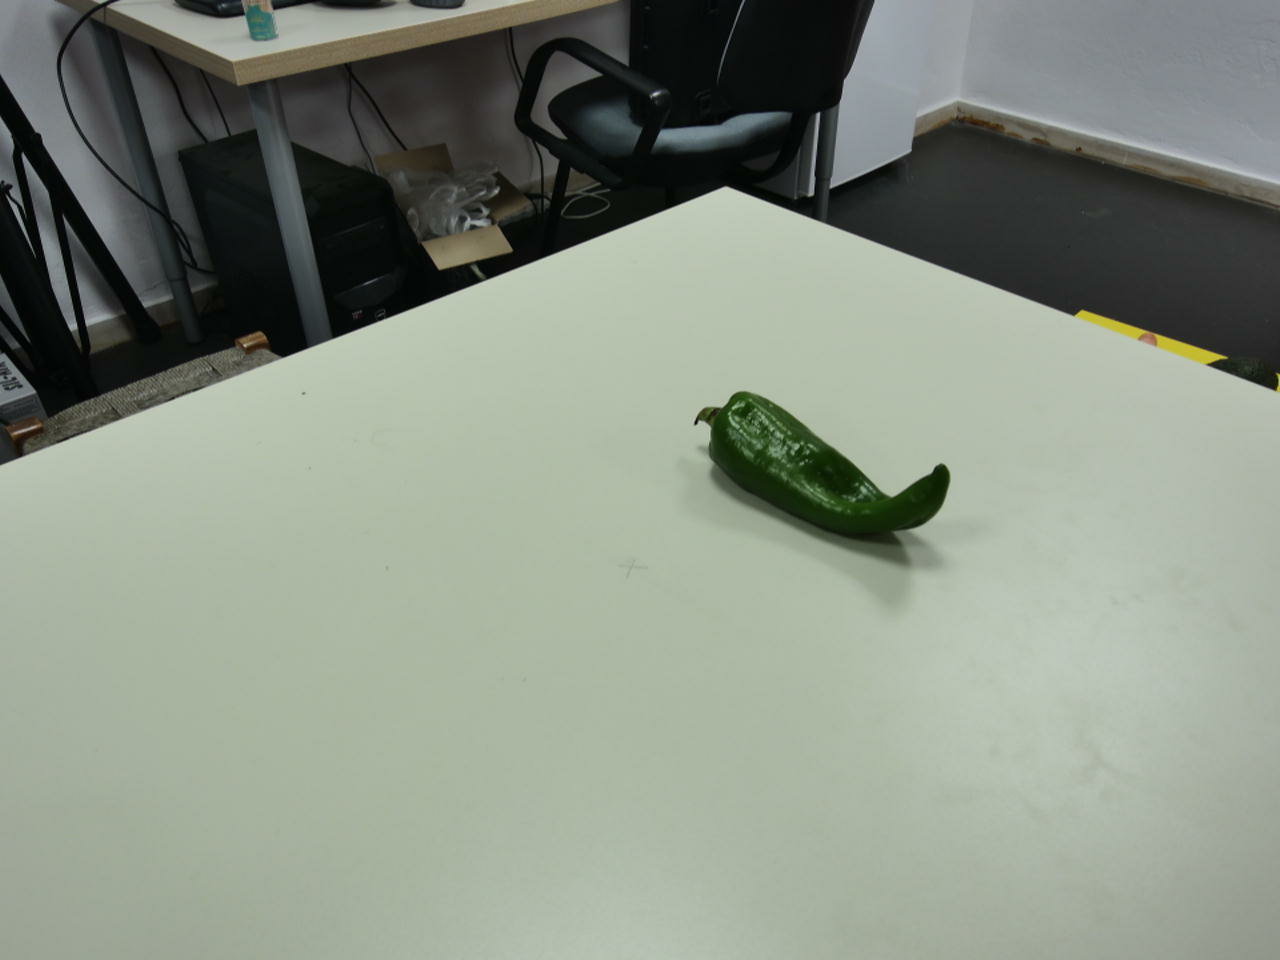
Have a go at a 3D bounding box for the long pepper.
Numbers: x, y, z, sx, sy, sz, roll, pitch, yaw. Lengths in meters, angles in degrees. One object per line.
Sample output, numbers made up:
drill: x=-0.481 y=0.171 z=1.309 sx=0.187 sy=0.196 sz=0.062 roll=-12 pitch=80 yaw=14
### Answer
long pepper: x=0.099 y=-0.013 z=0.597 sx=0.058 sy=0.065 sz=0.175 roll=-29 pitch=45 yaw=-33
